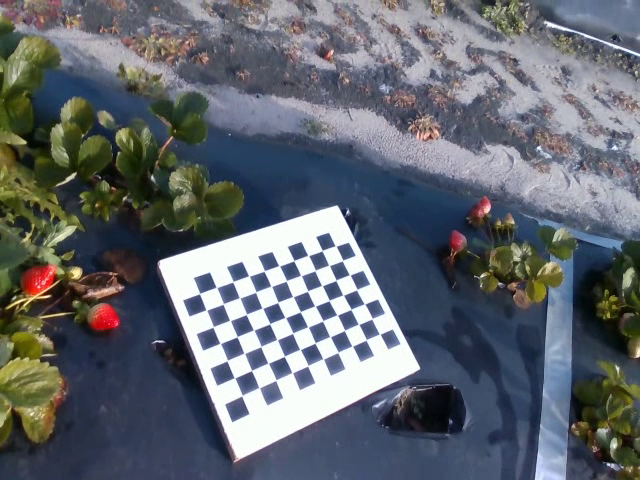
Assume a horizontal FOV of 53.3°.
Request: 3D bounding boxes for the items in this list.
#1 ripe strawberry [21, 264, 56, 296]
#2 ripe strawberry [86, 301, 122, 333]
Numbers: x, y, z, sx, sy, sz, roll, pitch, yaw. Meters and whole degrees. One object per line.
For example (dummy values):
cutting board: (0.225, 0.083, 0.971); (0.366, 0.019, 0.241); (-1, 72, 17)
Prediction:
ripe strawberry: (-0.335, 0.041, 0.751); (0.048, 0.040, 0.031); (-41, -9, 11)
ripe strawberry: (-0.260, 0.092, 0.757); (0.043, 0.035, 0.030); (30, -33, 0)
